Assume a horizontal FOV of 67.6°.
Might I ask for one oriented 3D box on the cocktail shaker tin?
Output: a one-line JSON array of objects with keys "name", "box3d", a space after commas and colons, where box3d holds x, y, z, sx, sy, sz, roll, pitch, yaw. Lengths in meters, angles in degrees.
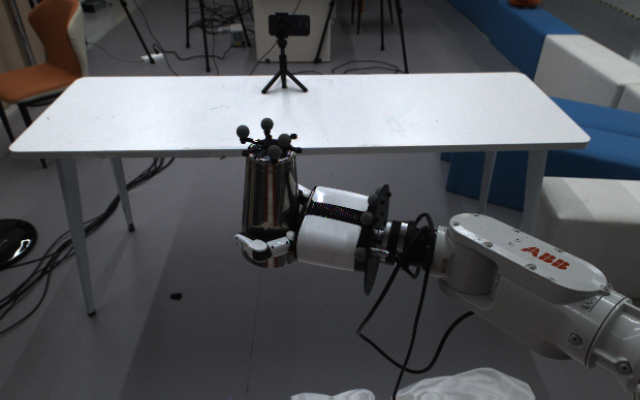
[{"name": "cocktail shaker tin", "box3d": [-0.070, 0.003, 0.693, 0.093, 0.170, 0.093, 3, 34, -2]}]
